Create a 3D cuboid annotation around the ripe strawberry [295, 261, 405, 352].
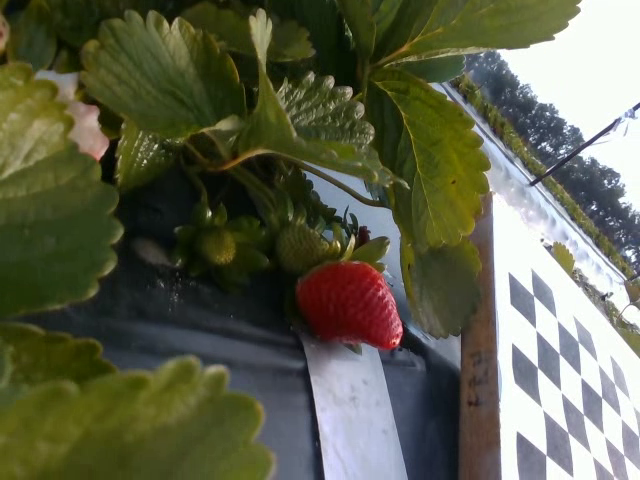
[{"bbox_3d":[0.017,0.026,0.218,0.035,0.055,0.050,-35,-56,16],"label":"ripe strawberry"}]
